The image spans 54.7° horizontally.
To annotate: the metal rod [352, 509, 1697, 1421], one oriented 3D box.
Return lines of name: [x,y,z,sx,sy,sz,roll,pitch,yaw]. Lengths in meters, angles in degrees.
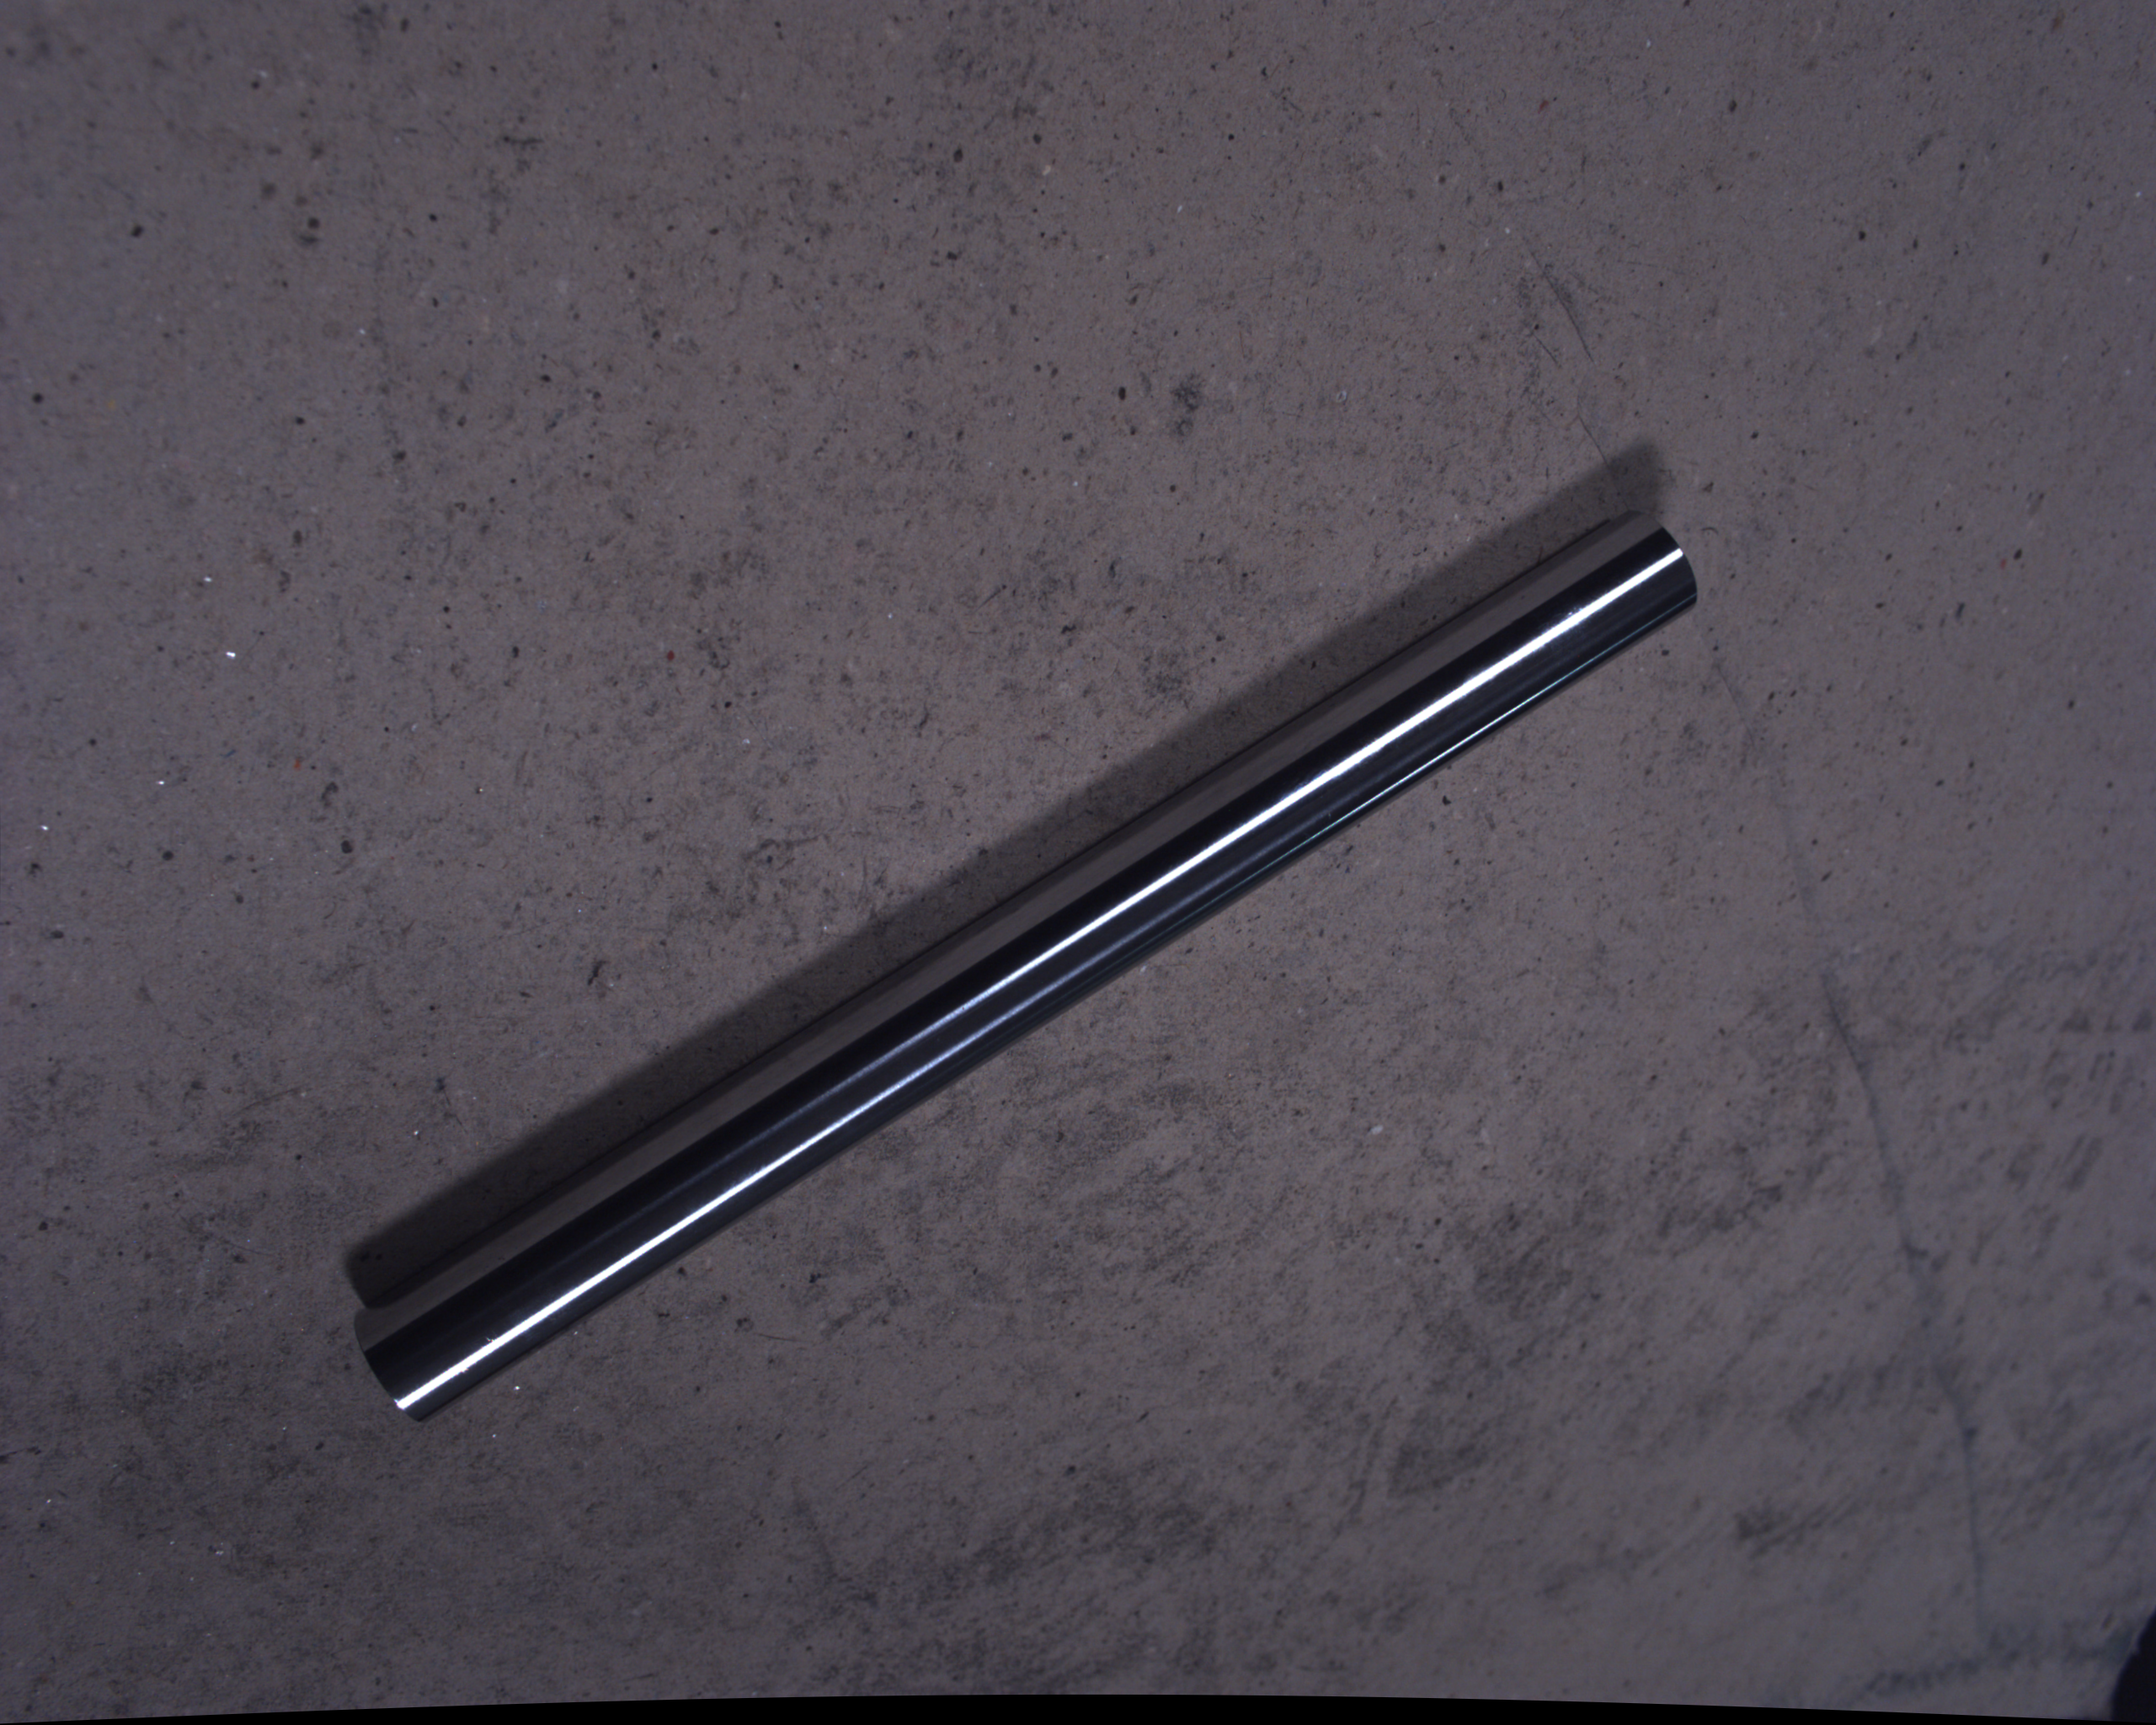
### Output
metal rod: [-0.005,0.016,0.418,0.301,0.025,0.025,-32,129,-8]
